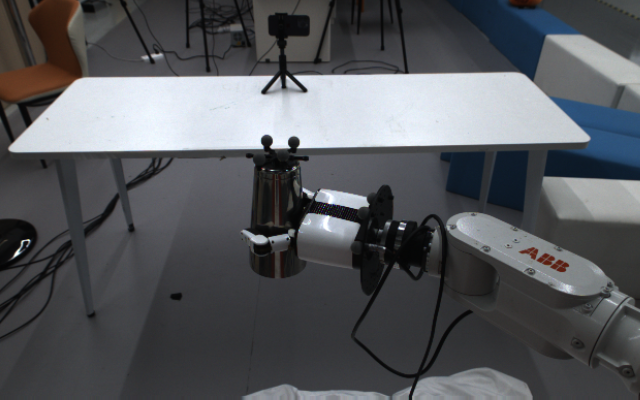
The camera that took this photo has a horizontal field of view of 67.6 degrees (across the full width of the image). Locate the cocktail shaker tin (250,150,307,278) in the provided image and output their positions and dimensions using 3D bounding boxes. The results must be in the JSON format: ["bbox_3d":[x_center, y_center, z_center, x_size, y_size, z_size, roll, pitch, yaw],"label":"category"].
[{"bbox_3d":[-0.062,0.021,0.728,0.093,0.170,0.093,2,28,-1],"label":"cocktail shaker tin"}]
